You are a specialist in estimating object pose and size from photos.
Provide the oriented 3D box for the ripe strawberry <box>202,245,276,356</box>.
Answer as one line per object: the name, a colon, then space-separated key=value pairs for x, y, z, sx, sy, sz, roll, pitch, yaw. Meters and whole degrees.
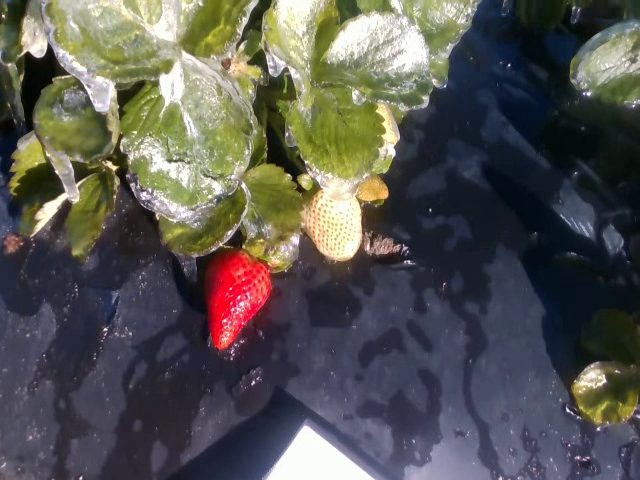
ripe strawberry: x=-0.048 y=0.033 z=0.299 sx=0.041 sy=0.052 sz=0.040 roll=18 pitch=-11 yaw=4
